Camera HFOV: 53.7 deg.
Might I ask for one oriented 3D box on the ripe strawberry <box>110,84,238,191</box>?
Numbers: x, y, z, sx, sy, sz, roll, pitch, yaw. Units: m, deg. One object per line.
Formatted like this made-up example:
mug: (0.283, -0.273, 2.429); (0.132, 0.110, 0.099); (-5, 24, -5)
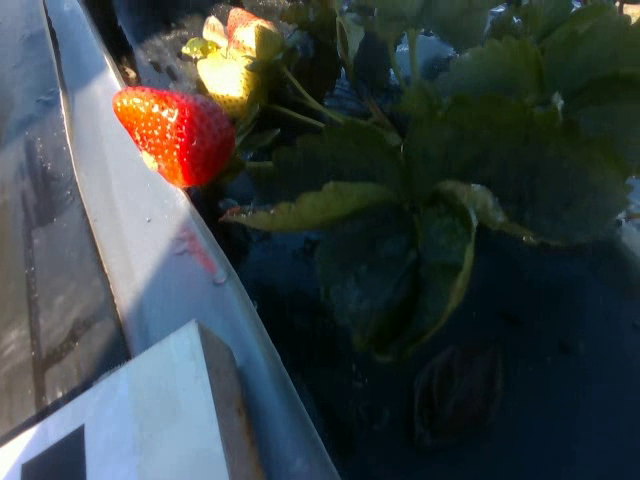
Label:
ripe strawberry: (-0.050, -0.036, 0.207); (0.045, 0.038, 0.036); (32, 20, -37)
